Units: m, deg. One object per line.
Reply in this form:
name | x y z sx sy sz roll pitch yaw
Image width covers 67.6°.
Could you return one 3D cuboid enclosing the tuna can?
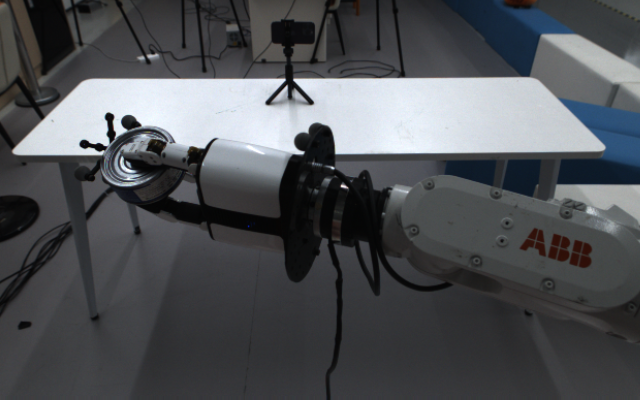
tuna can | -0.192 -0.040 0.534 0.085 0.034 0.085 -3 59 6
